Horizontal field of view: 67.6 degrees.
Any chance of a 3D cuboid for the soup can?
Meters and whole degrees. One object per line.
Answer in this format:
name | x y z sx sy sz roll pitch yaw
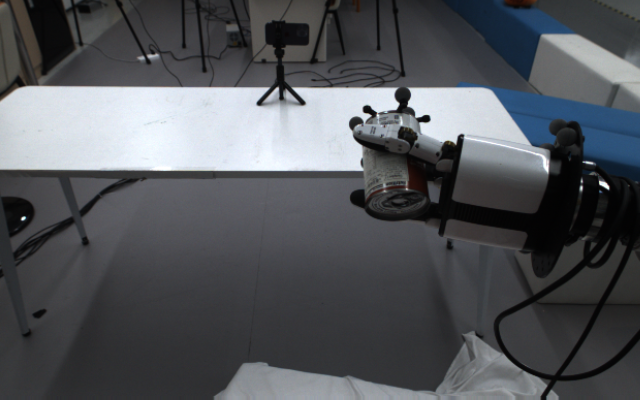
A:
soup can | 0.082 -0.037 0.527 0.067 0.067 0.101 1 62 -2
